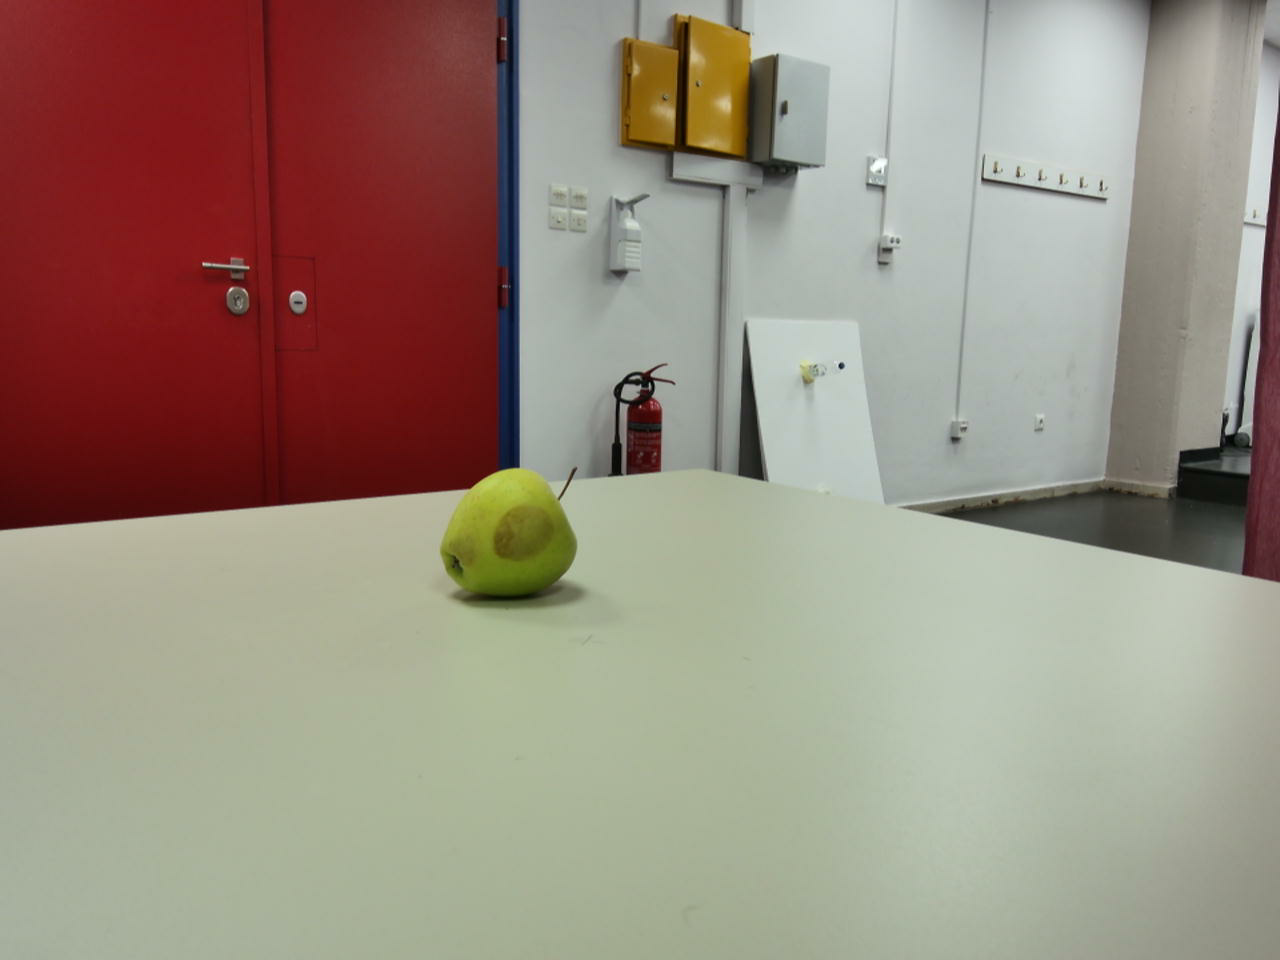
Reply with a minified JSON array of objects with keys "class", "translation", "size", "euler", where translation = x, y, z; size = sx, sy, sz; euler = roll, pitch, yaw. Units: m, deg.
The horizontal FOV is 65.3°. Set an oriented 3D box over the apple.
[{"class":"apple","translation":[-0.077,0.031,0.602],"size":[0.077,0.075,0.072],"euler":[1,8,8]}]
